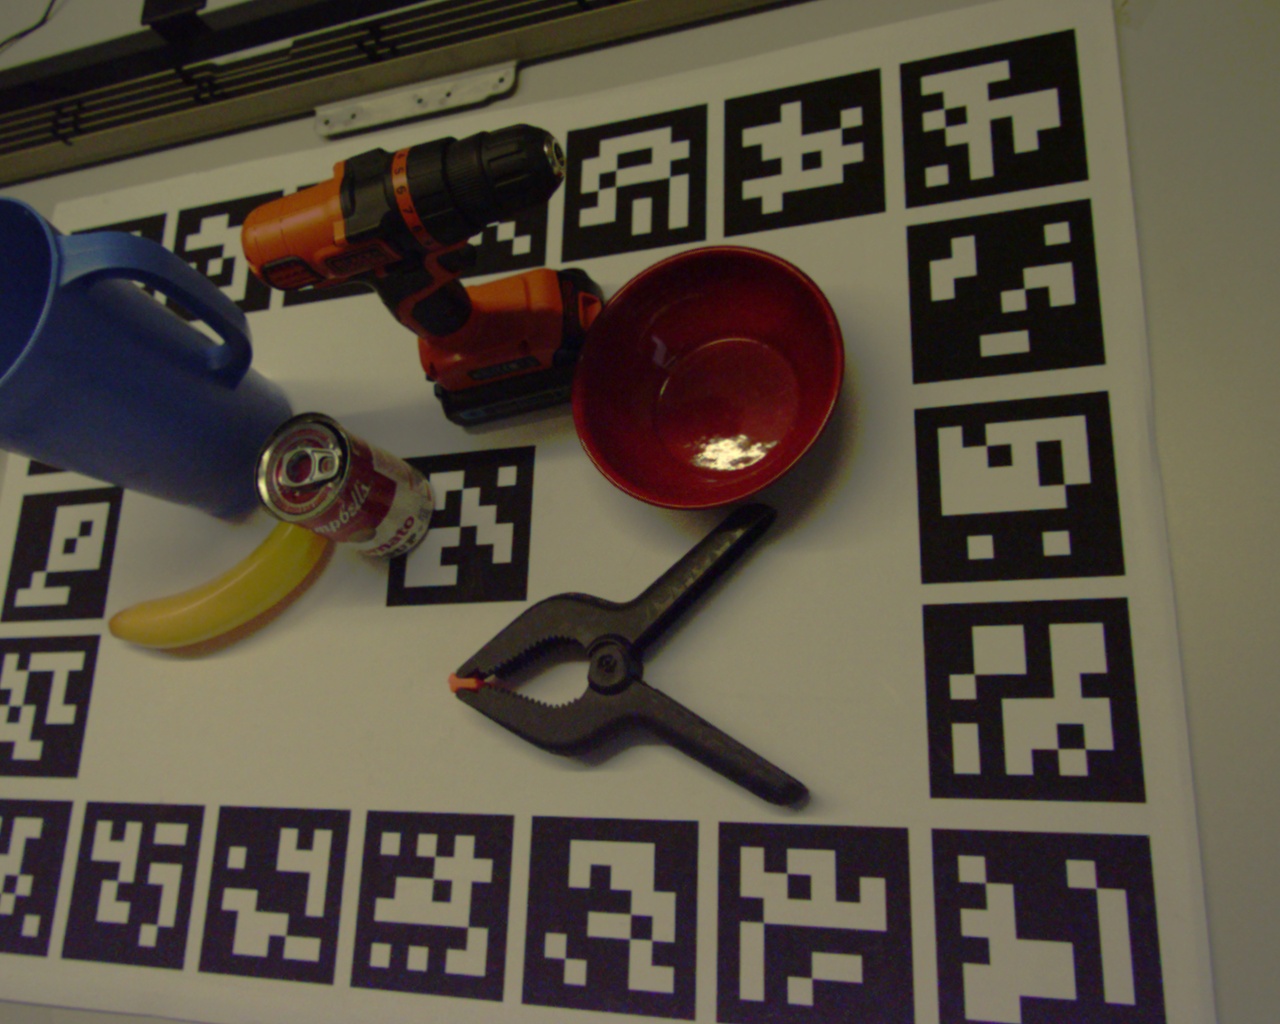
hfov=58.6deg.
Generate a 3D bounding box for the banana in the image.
[{"bbox_3d":[-0.299,0.049,0.804,0.198,0.038,0.075,-29,59,10],"label":"banana"}]

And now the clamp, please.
[{"bbox_3d":[-0.028,0.090,0.675,0.204,0.036,0.166,-8,77,20],"label":"clamp"}]

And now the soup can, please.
[{"bbox_3d":[-0.193,-0.017,0.744,0.068,0.101,0.068,-9,64,18],"label":"soup can"}]

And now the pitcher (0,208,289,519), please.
[{"bbox_3d":[-0.330,-0.085,0.739,0.189,0.240,0.134,-29,64,12],"label":"pitcher"}]

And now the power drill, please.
[{"bbox_3d":[-0.102,-0.136,0.672,0.186,0.185,0.057,-10,73,18],"label":"power drill"}]

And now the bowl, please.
[{"bbox_3d":[0.029,-0.068,0.694,0.163,0.054,0.162,-6,75,21],"label":"bowl"}]
